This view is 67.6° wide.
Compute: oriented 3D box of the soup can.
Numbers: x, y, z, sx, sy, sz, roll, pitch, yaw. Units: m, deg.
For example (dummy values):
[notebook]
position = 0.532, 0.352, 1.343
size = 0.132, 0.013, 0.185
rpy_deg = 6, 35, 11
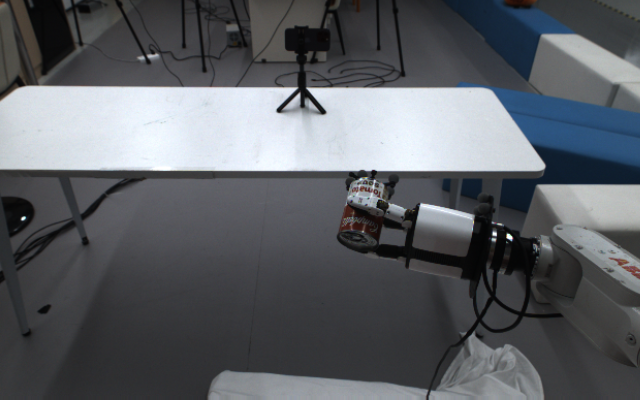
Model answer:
[soup can]
position = 0.072, 0.021, 0.782
size = 0.067, 0.067, 0.101
rpy_deg = 9, 61, 10
